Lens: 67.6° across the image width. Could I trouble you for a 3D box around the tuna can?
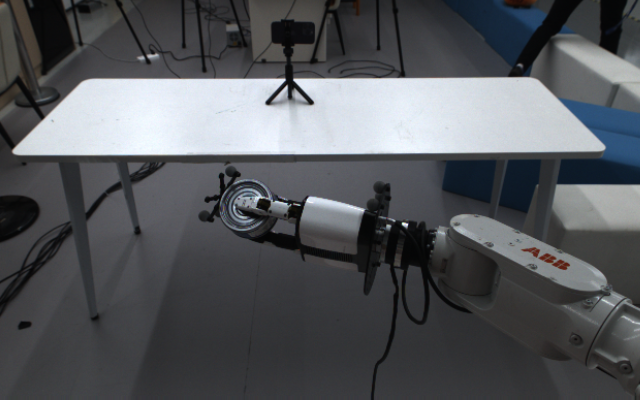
[{"bbox_3d":[-0.104,0.011,0.721,0.085,0.034,0.085,-3,70,9],"label":"tuna can"}]
